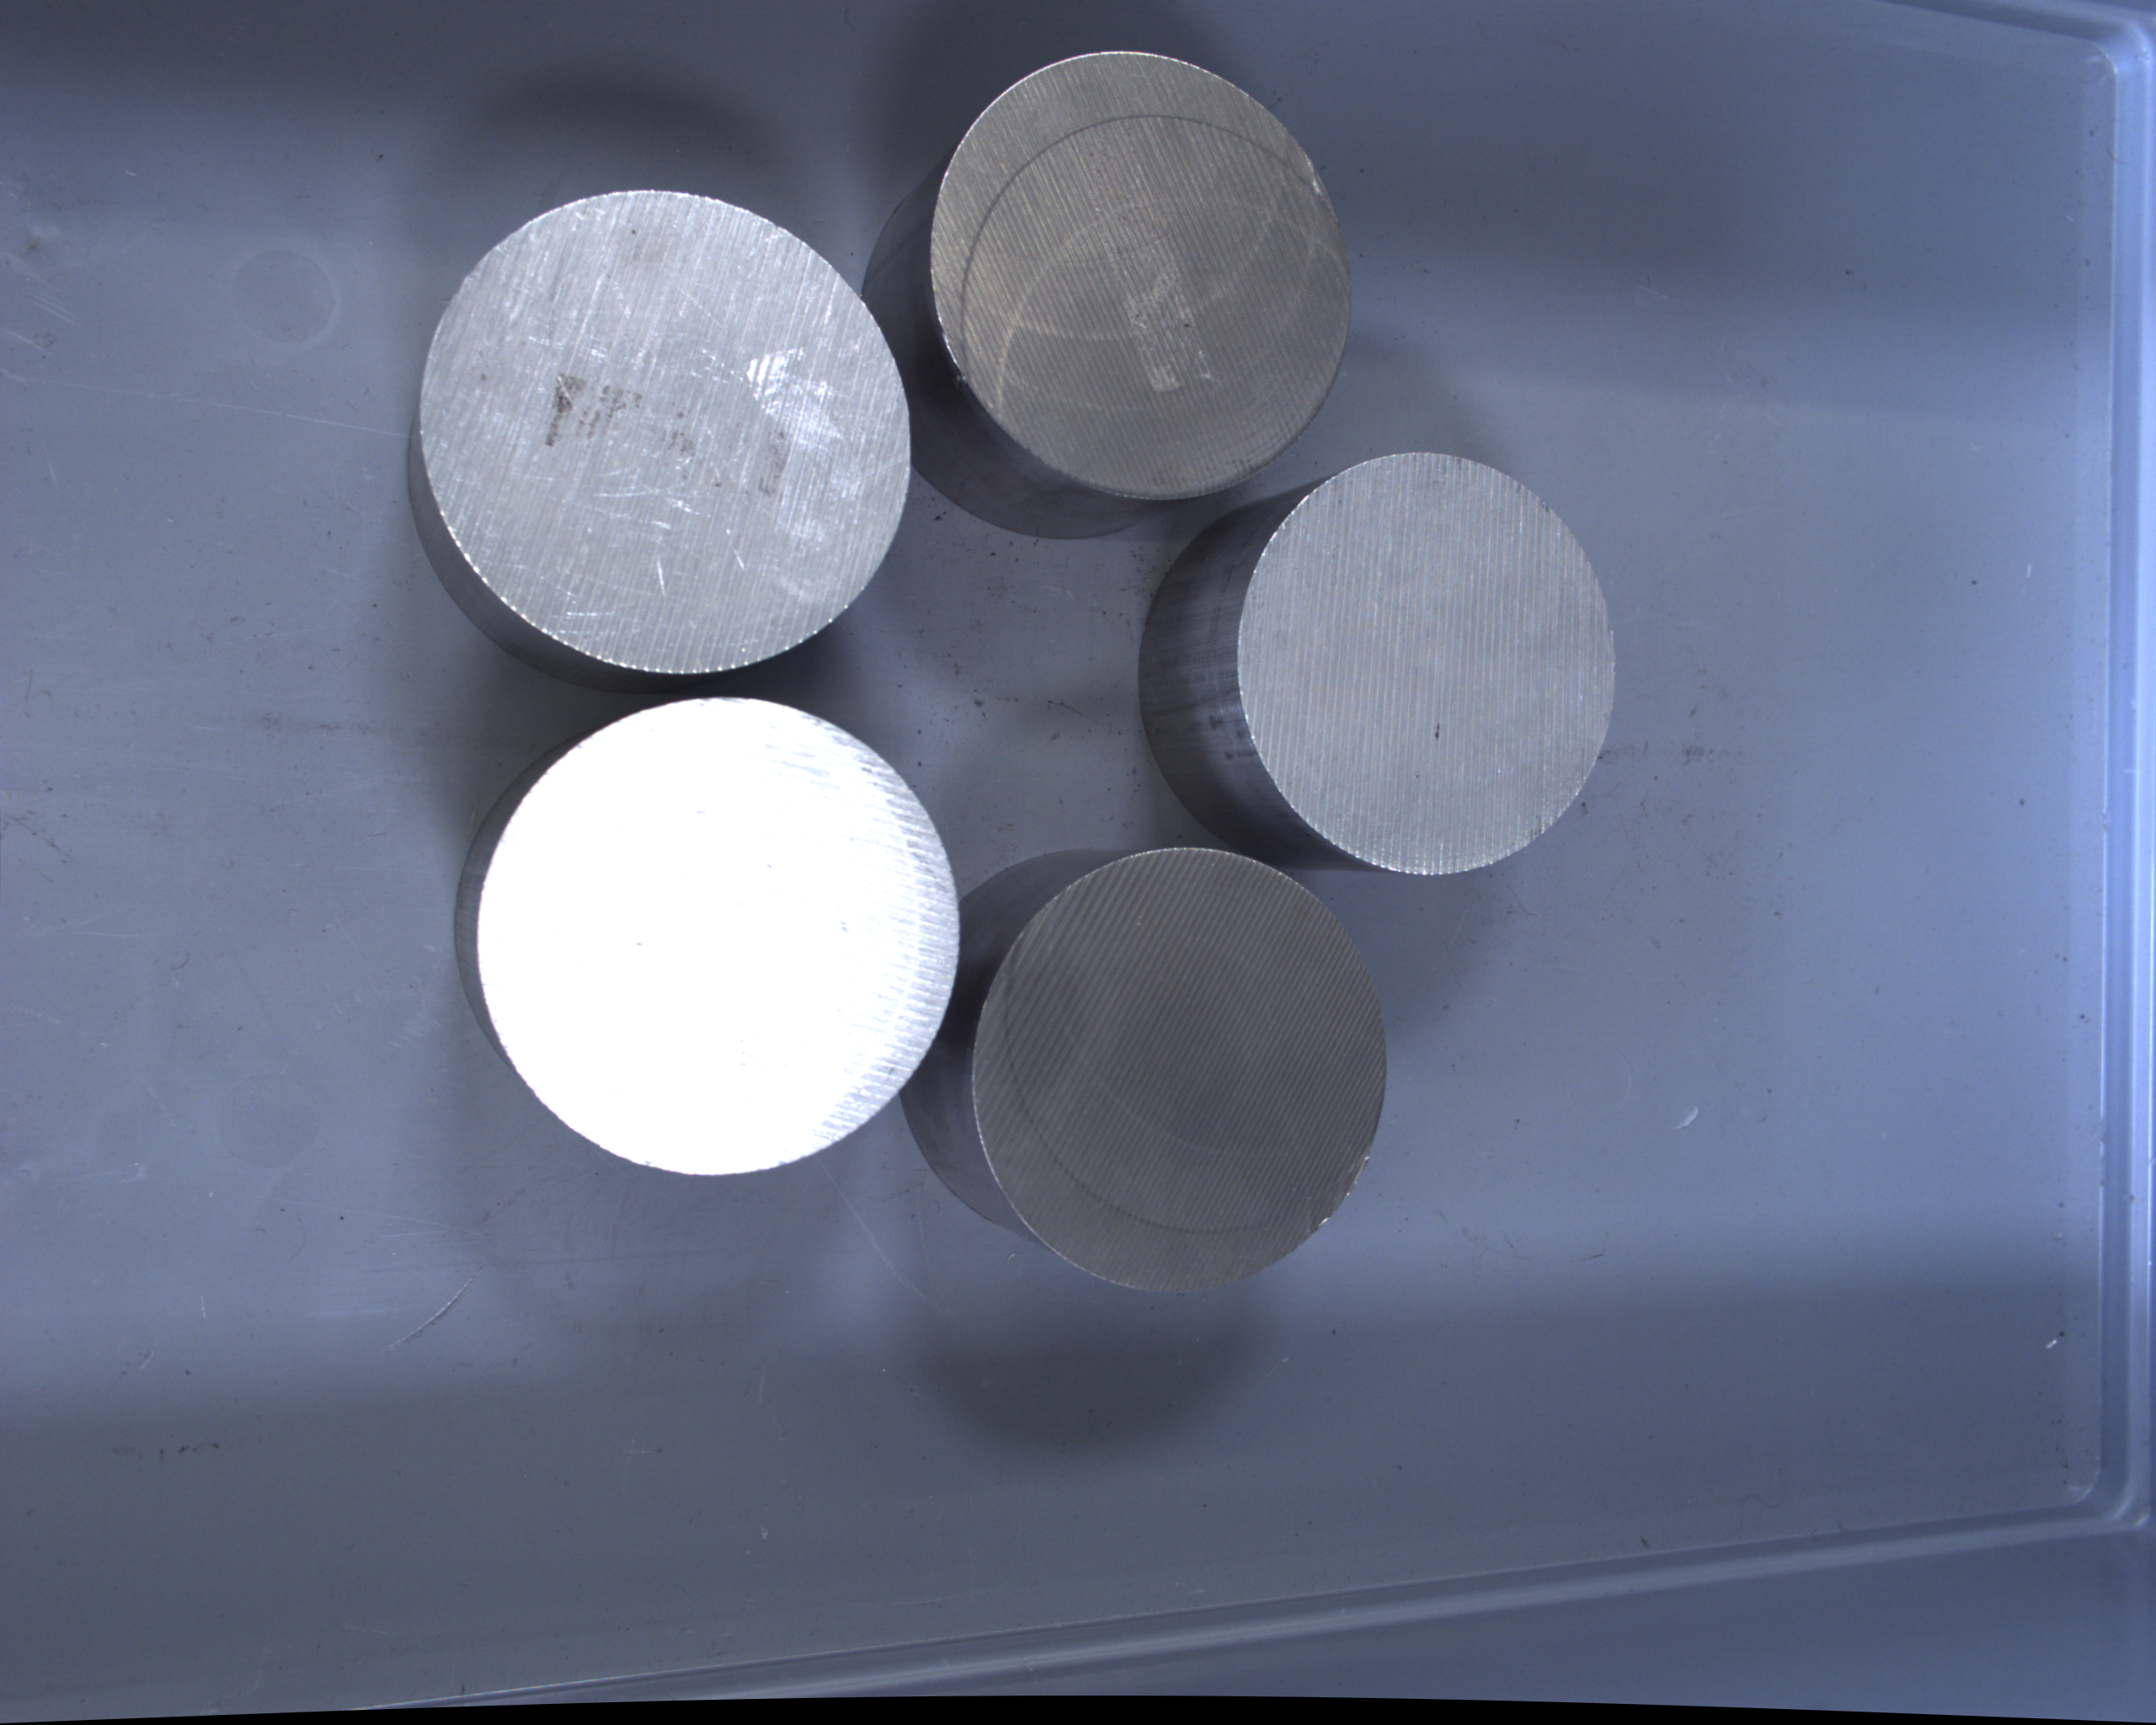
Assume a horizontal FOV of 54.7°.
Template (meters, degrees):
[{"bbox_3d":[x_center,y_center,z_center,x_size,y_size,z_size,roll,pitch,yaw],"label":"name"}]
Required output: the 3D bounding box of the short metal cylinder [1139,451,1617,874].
[{"bbox_3d":[0.059,-0.038,0.416,0.081,0.050,0.080,0,90,-20],"label":"short metal cylinder"}]

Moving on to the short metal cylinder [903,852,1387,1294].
[{"bbox_3d":[0.011,0.038,0.399,0.081,0.050,0.080,0,90,-20],"label":"short metal cylinder"}]

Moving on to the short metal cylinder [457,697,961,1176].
[{"bbox_3d":[-0.067,0.012,0.370,0.081,0.050,0.080,0,90,-20],"label":"short metal cylinder"}]

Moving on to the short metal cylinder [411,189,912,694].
[{"bbox_3d":[-0.075,-0.071,0.367,0.081,0.050,0.080,0,90,-20],"label":"short metal cylinder"}]

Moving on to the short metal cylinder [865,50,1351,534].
[{"bbox_3d":[0.004,-0.105,0.396,0.081,0.050,0.080,0,90,-20],"label":"short metal cylinder"}]
